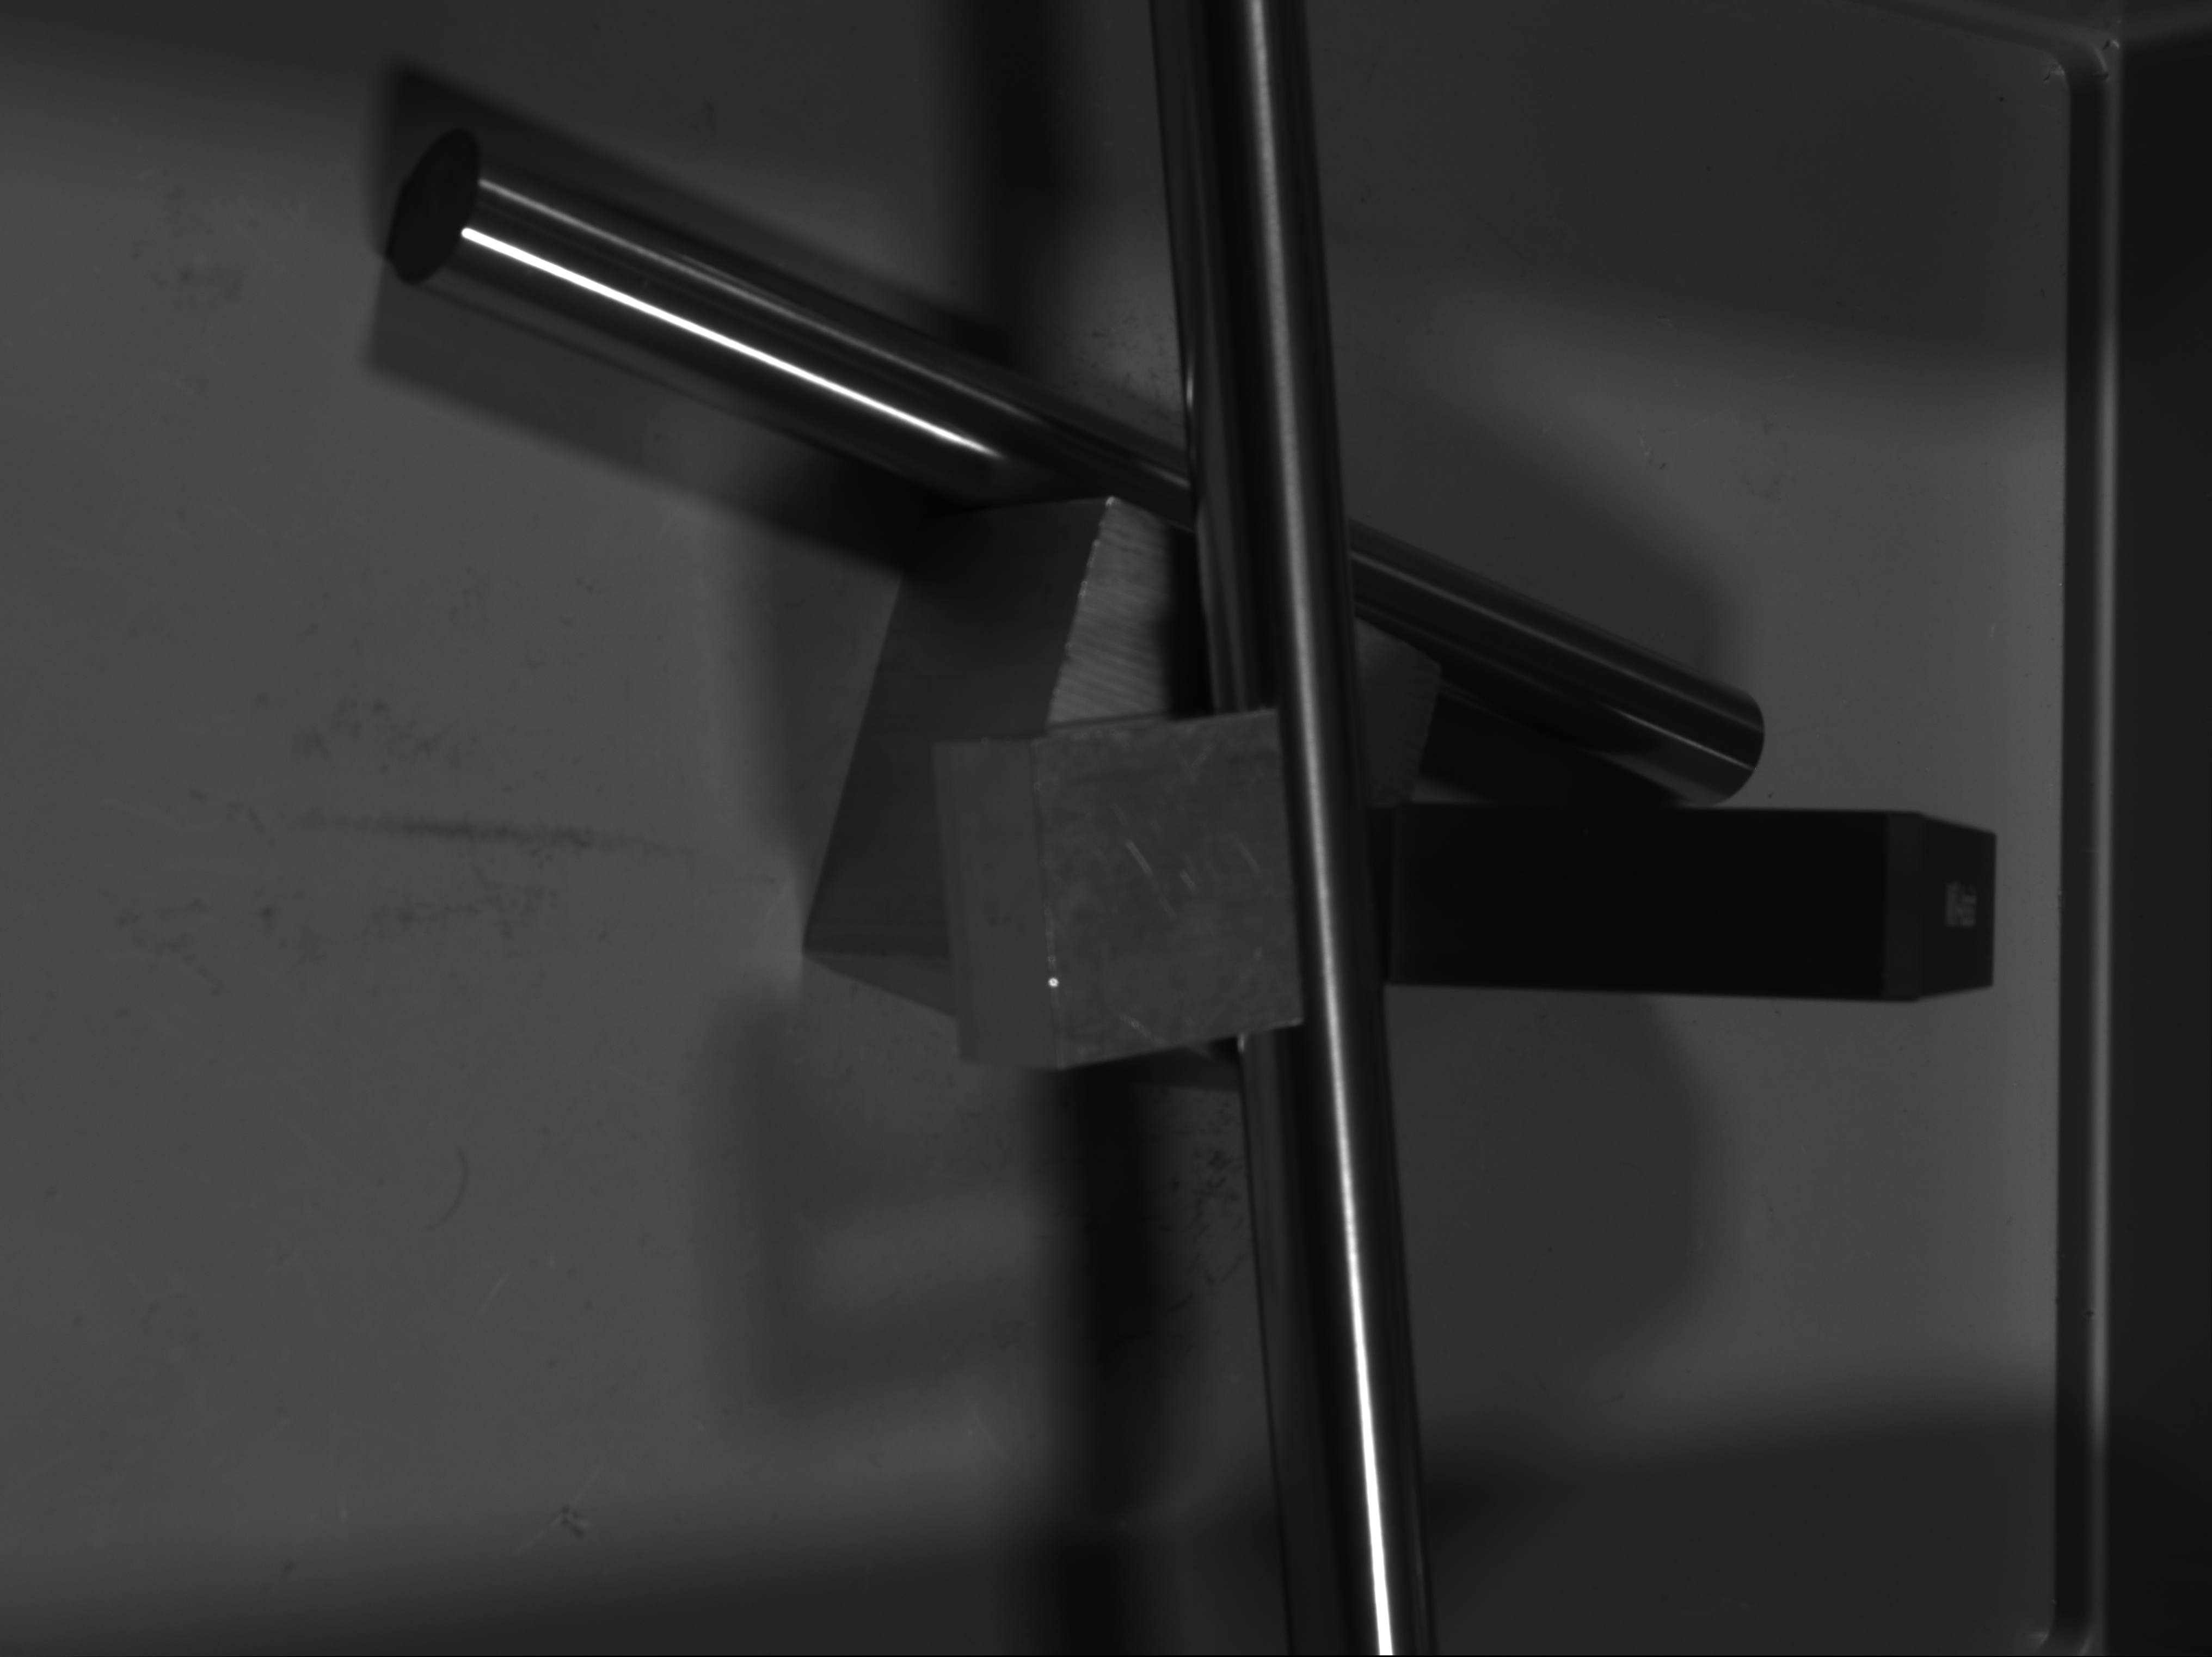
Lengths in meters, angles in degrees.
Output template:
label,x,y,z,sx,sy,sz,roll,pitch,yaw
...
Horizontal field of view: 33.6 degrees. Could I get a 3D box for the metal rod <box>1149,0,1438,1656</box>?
label,x,y,z,sx,sy,sz,roll,pitch,yaw
metal rod,0.031,-0.002,0.597,0.025,0.025,0.300,-8,95,-39

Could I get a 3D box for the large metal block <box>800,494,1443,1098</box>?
label,x,y,z,sx,sy,sz,roll,pitch,yaw
large metal block,0.004,-0.003,0.623,0.080,0.050,0.080,23,75,-37

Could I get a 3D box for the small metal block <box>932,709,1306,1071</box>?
label,x,y,z,sx,sy,sz,roll,pitch,yaw
small metal block,0.002,0.009,0.573,0.050,0.025,0.050,-8,95,-40

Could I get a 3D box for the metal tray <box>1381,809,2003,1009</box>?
label,x,y,z,sx,sy,sz,roll,pitch,yaw
metal tray,0.107,0.014,0.649,0.130,0.090,0.030,3,88,-71

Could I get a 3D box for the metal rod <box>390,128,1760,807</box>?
label,x,y,z,sx,sy,sz,roll,pitch,yaw
metal rod,0.010,-0.055,0.645,0.301,0.025,0.025,19,78,-38
